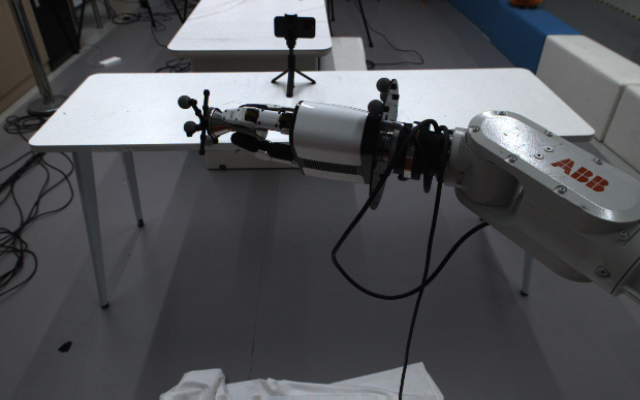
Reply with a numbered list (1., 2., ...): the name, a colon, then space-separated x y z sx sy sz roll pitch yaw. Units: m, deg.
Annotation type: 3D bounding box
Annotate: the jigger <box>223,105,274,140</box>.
1. jigger: -0.104 -0.107 0.647 0.071 0.043 0.043 3 34 15
